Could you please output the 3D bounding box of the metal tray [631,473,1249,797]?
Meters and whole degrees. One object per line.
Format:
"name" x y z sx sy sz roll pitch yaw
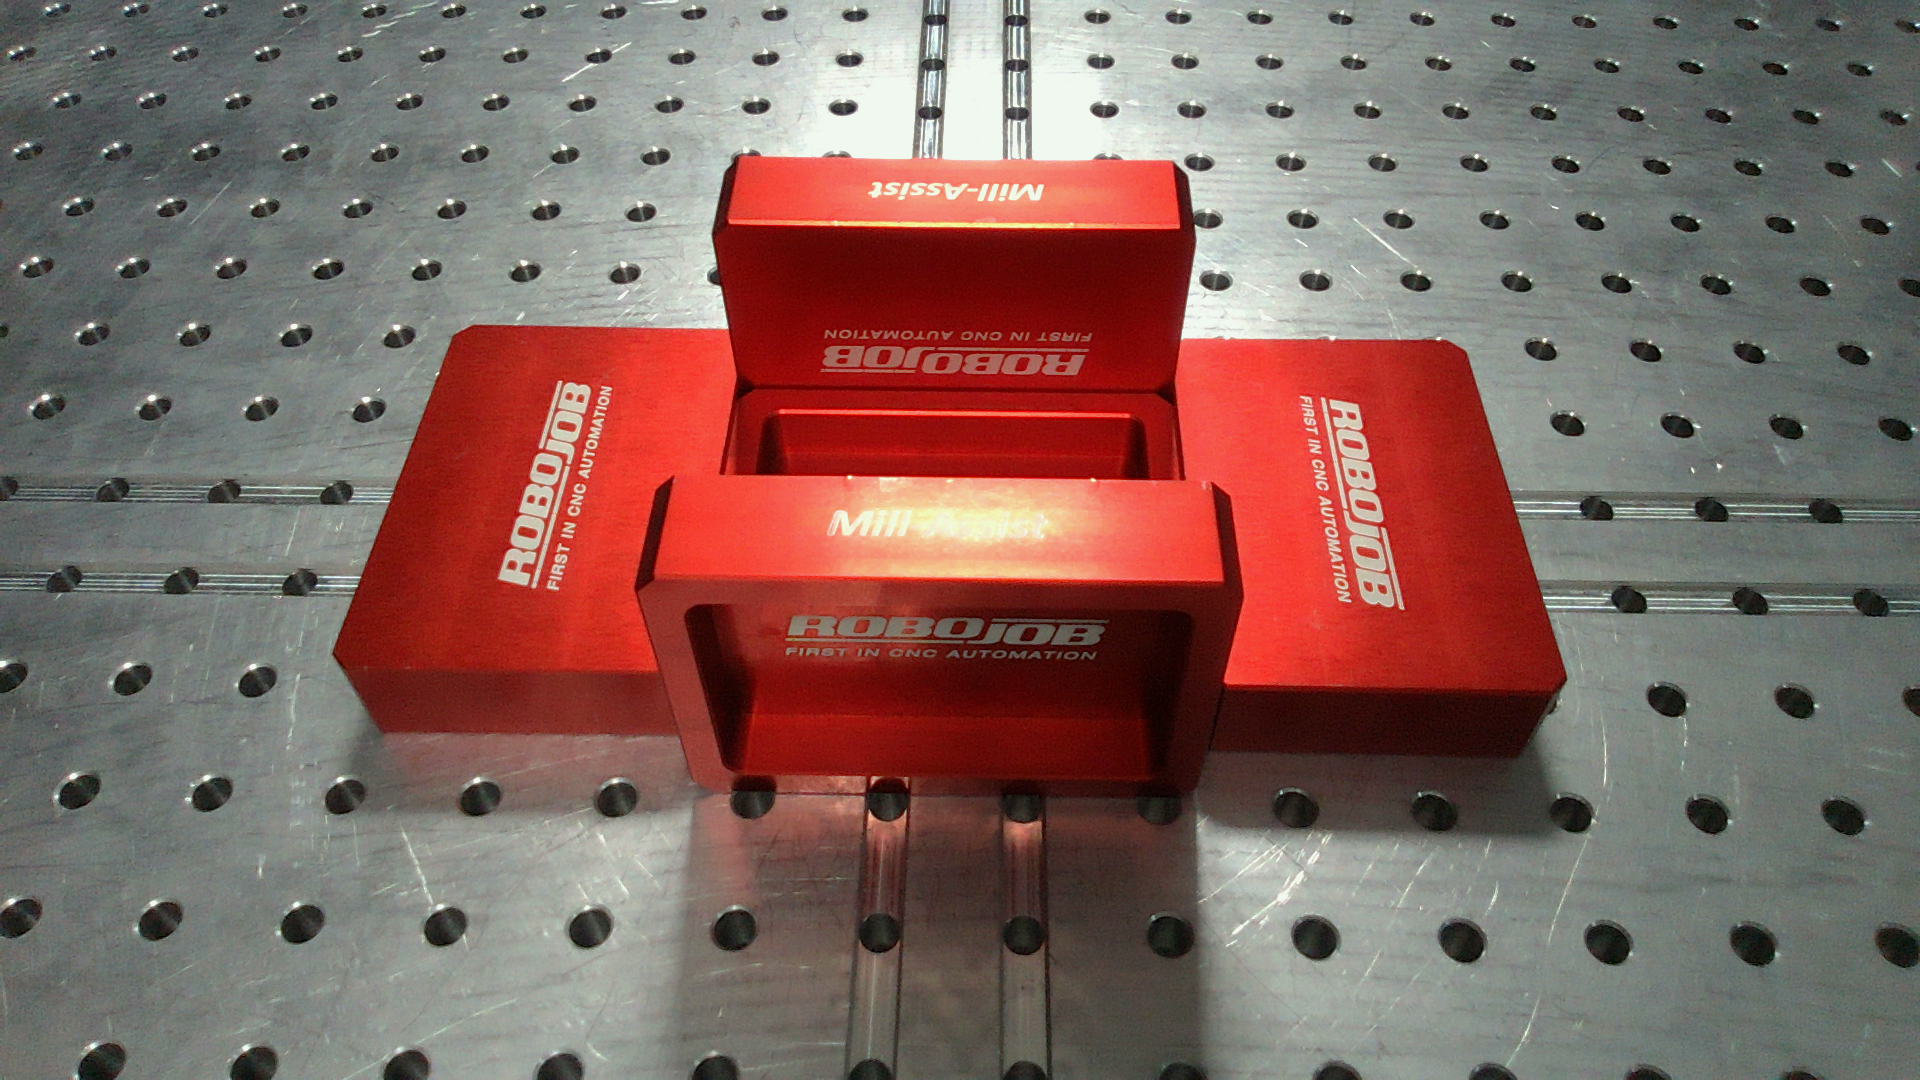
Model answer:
"metal tray" -0.004 0.025 0.329 0.130 0.090 0.030 0 50 1

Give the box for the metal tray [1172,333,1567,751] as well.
"metal tray" 0.108 -0.004 0.393 0.090 0.030 0.130 1 50 0

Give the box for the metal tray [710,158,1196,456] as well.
"metal tray" -0.001 -0.066 0.408 0.130 0.090 0.030 0 50 1

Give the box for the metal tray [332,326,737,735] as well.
"metal tray" -0.113 -0.007 0.397 0.090 0.030 0.130 1 50 1

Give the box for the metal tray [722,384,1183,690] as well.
"metal tray" -0.002 -0.002 0.390 0.130 0.030 0.090 1 50 1
